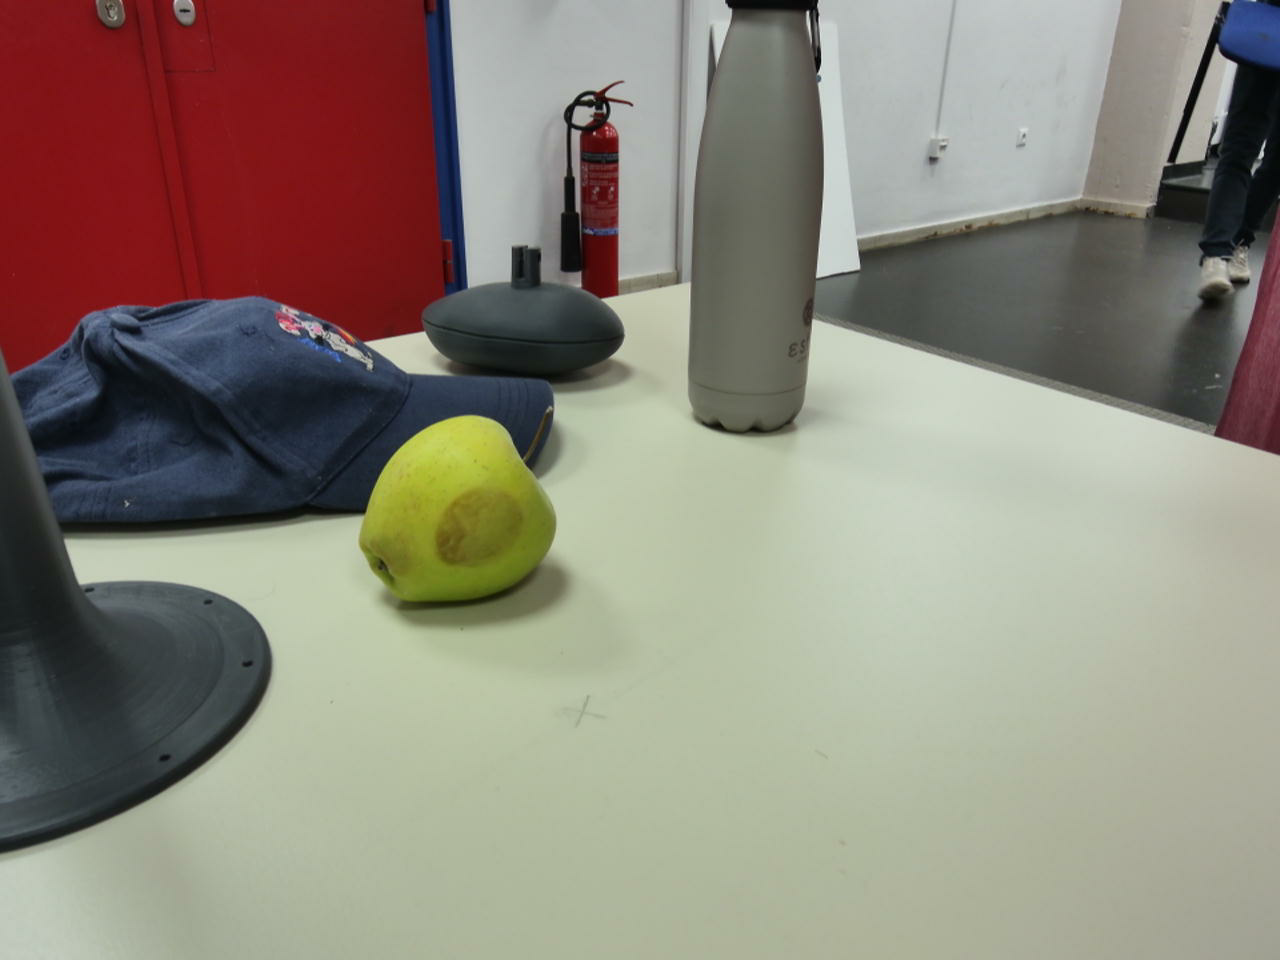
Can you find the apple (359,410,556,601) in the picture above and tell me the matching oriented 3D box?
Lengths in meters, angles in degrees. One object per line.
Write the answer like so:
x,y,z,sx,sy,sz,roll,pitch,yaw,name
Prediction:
-0.074,0.011,0.415,0.077,0.075,0.072,4,23,4,apple
